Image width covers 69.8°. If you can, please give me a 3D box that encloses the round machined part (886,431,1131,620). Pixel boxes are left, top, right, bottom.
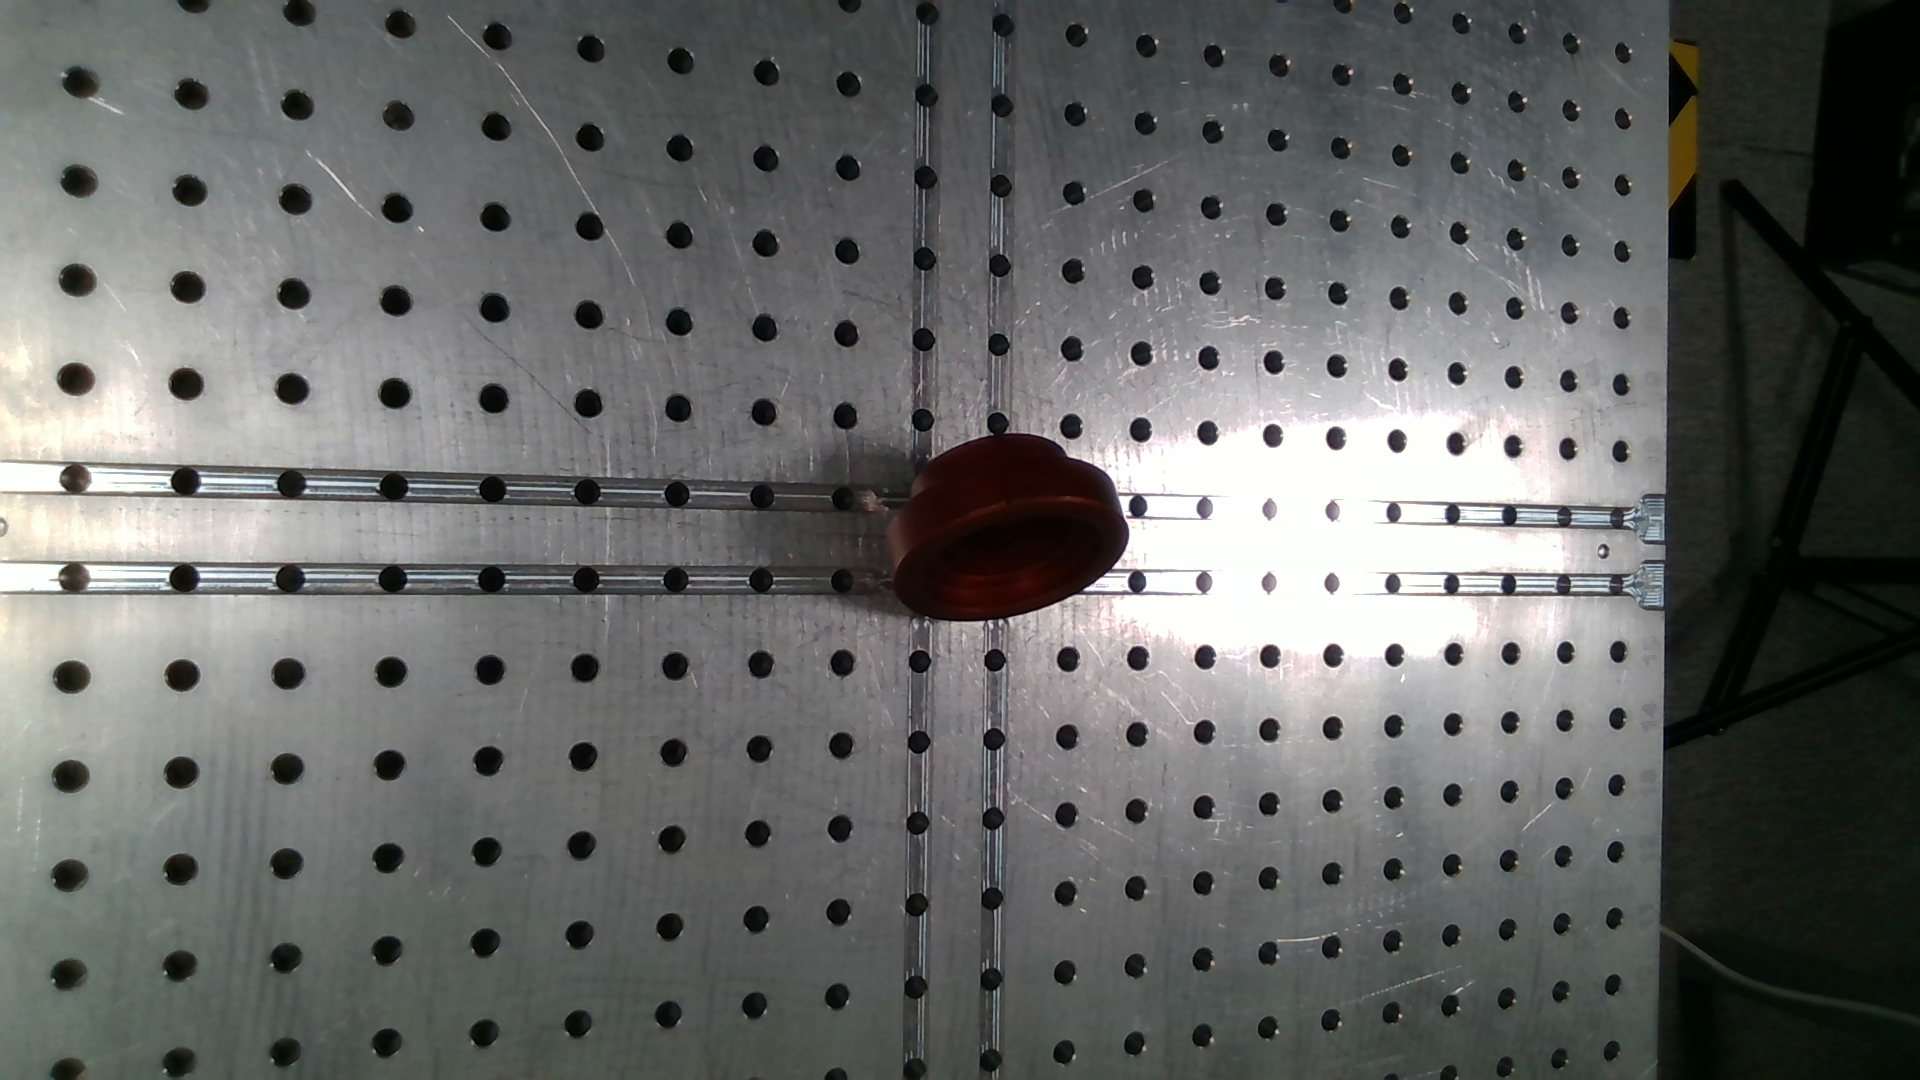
[{"bbox_3d":[0.017,-0.008,0.565,0.098,0.098,0.042,-3,59,-20],"label":"round machined part"}]
